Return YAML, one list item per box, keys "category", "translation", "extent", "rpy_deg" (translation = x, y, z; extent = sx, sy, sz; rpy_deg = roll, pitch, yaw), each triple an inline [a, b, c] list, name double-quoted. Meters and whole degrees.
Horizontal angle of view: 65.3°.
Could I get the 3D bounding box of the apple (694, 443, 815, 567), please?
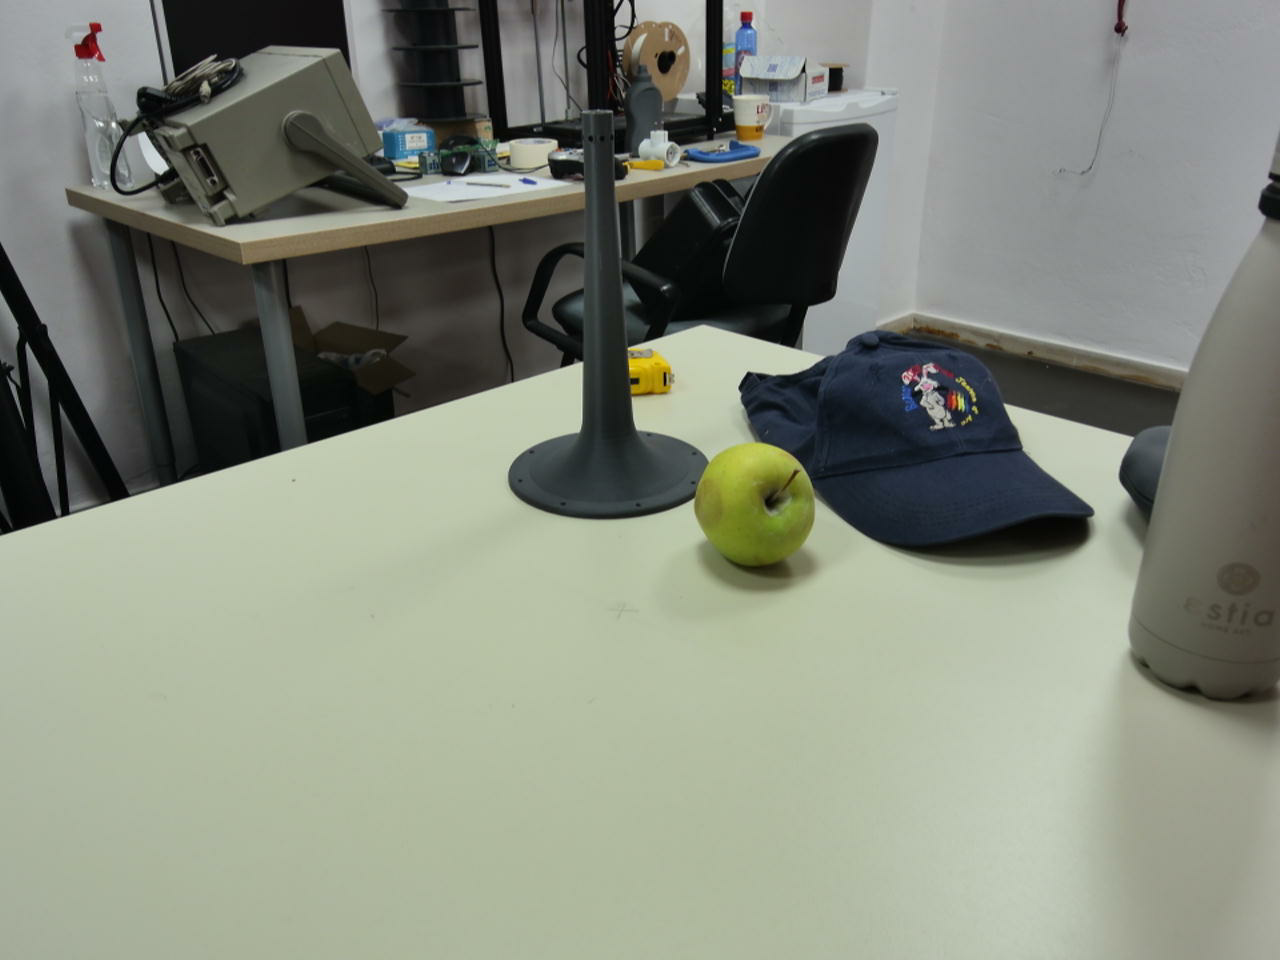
- category: "apple"
  translation: [0.070, 0.014, 0.612]
  extent: [0.072, 0.075, 0.077]
  rpy_deg: [1, 24, 1]
